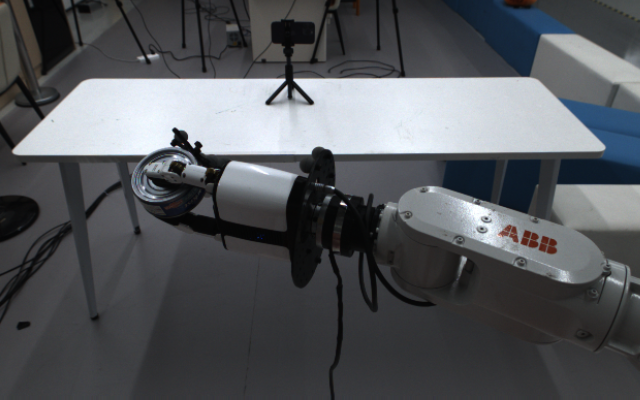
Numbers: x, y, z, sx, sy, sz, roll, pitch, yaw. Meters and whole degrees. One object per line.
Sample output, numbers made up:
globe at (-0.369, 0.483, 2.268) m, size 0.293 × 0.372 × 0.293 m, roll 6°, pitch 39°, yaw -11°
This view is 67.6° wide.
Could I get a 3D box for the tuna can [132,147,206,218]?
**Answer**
tuna can at (-0.183, -0.022, 0.594) m, size 0.085 × 0.034 × 0.085 m, roll -4°, pitch 58°, yaw 6°
